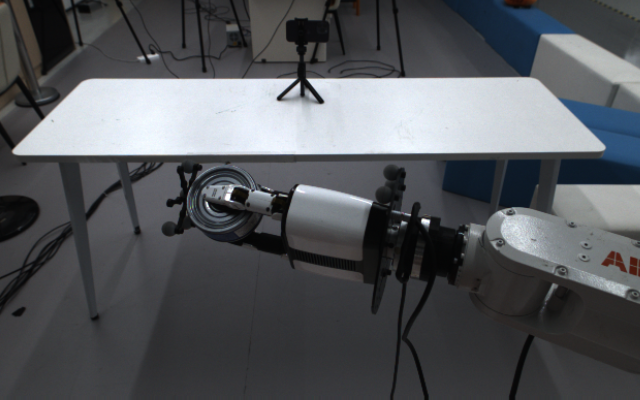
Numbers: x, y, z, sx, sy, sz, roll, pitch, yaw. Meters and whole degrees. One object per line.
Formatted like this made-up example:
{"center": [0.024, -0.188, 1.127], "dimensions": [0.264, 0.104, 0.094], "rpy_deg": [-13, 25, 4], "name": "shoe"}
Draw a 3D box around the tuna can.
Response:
{"center": [-0.107, 0.003, 0.560], "dimensions": [0.085, 0.034, 0.085], "rpy_deg": [-3, 69, 7], "name": "tuna can"}
